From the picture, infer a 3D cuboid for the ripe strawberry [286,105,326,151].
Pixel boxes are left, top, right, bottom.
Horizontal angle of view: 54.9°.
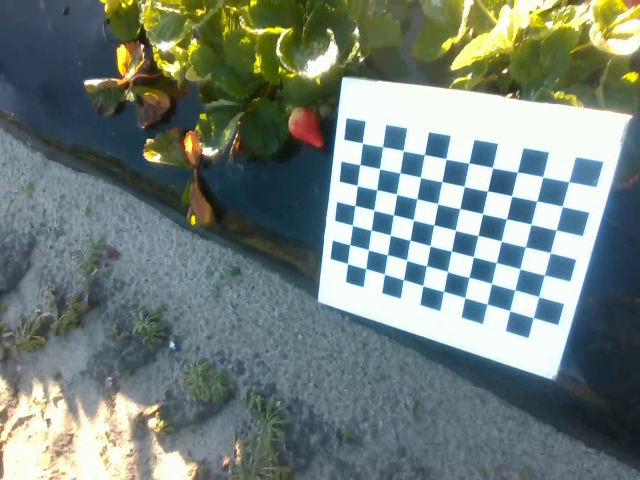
[{"bbox_3d":[-0.020,-0.138,0.769,0.040,0.065,0.040,-40,-7,29],"label":"ripe strawberry"}]
